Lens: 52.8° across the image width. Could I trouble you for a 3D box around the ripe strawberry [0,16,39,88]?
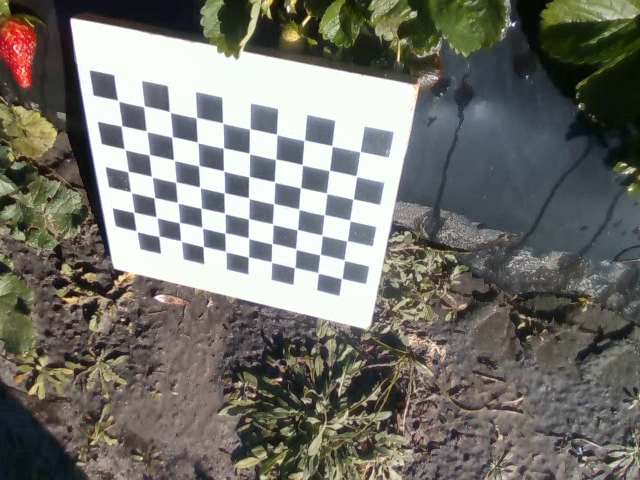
[{"bbox_3d":[-0.263,-0.158,0.553,0.048,0.069,0.040,-1,30,21],"label":"ripe strawberry"}]
